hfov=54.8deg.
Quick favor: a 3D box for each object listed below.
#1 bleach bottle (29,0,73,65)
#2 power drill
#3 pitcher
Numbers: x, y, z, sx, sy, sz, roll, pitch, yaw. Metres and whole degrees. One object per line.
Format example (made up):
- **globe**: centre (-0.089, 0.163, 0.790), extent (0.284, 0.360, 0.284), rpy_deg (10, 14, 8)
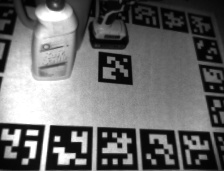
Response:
- **bleach bottle**: centre (-0.135, -0.129, 0.458), extent (0.103, 0.250, 0.067), rpy_deg (-3, 68, -14)
- **power drill**: centre (0.035, -0.211, 0.571), extent (0.186, 0.186, 0.057), rpy_deg (2, 70, -19)
- **pitcher**: centre (-0.127, -0.213, 0.517), extent (0.190, 0.242, 0.132), rpy_deg (-21, 75, -21)
